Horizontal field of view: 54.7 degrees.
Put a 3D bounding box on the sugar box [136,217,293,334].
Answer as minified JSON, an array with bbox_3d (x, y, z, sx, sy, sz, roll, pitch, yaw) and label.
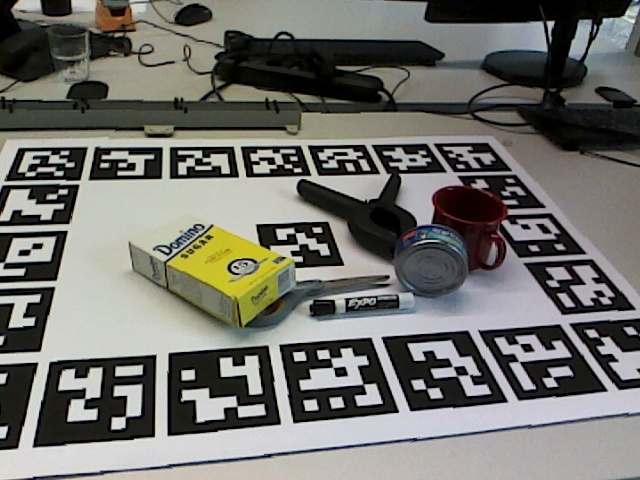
[{"bbox_3d":[-0.124,0.034,0.717,0.177,0.045,0.092,26,40,34],"label":"sugar box"}]

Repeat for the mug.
[{"bbox_3d":[0.179,0.001,0.794,0.093,0.081,0.118,-21,41,-33],"label":"mug"}]

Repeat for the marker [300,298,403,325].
[{"bbox_3d":[0.036,0.081,0.708,0.121,0.019,0.020,-5,38,-14],"label":"marker"}]

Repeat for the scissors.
[{"bbox_3d":[-0.016,0.056,0.730,0.202,0.016,0.088,-8,35,-22],"label":"scissors"}]

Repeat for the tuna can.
[{"bbox_3d":[0.132,0.031,0.737,0.086,0.085,0.034,8,36,2],"label":"tuna can"}]

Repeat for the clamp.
[{"bbox_3d":[0.070,-0.026,0.864,0.165,0.036,0.204,-9,40,-21],"label":"clamp"}]
